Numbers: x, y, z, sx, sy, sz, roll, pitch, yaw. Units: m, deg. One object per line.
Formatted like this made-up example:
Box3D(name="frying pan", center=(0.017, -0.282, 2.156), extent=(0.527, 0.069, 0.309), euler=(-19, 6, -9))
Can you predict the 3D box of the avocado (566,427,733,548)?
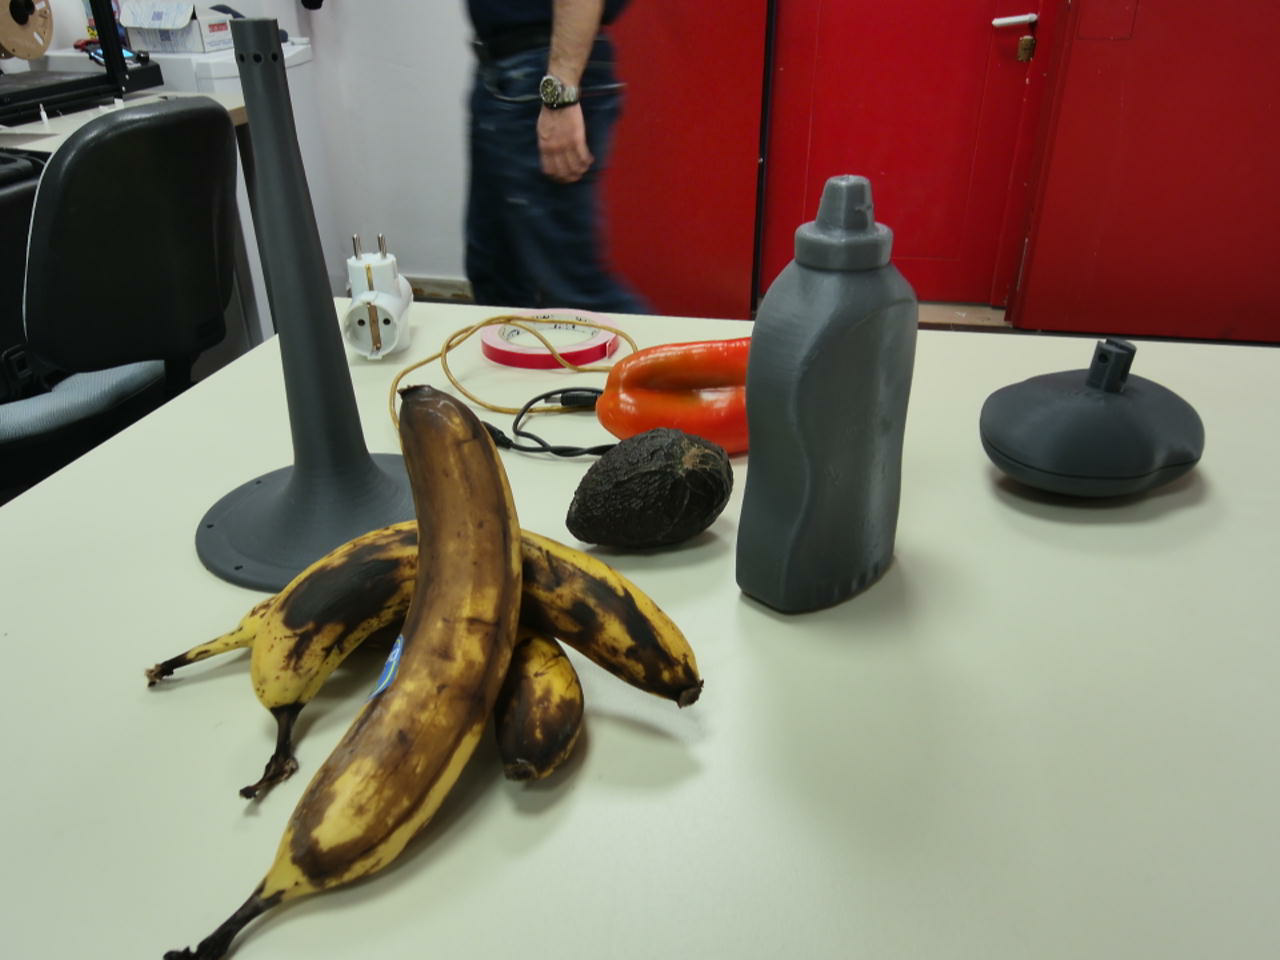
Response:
Box3D(name="avocado", center=(0.004, 0.004, 0.534), extent=(0.092, 0.062, 0.062), euler=(-6, 26, -10))
